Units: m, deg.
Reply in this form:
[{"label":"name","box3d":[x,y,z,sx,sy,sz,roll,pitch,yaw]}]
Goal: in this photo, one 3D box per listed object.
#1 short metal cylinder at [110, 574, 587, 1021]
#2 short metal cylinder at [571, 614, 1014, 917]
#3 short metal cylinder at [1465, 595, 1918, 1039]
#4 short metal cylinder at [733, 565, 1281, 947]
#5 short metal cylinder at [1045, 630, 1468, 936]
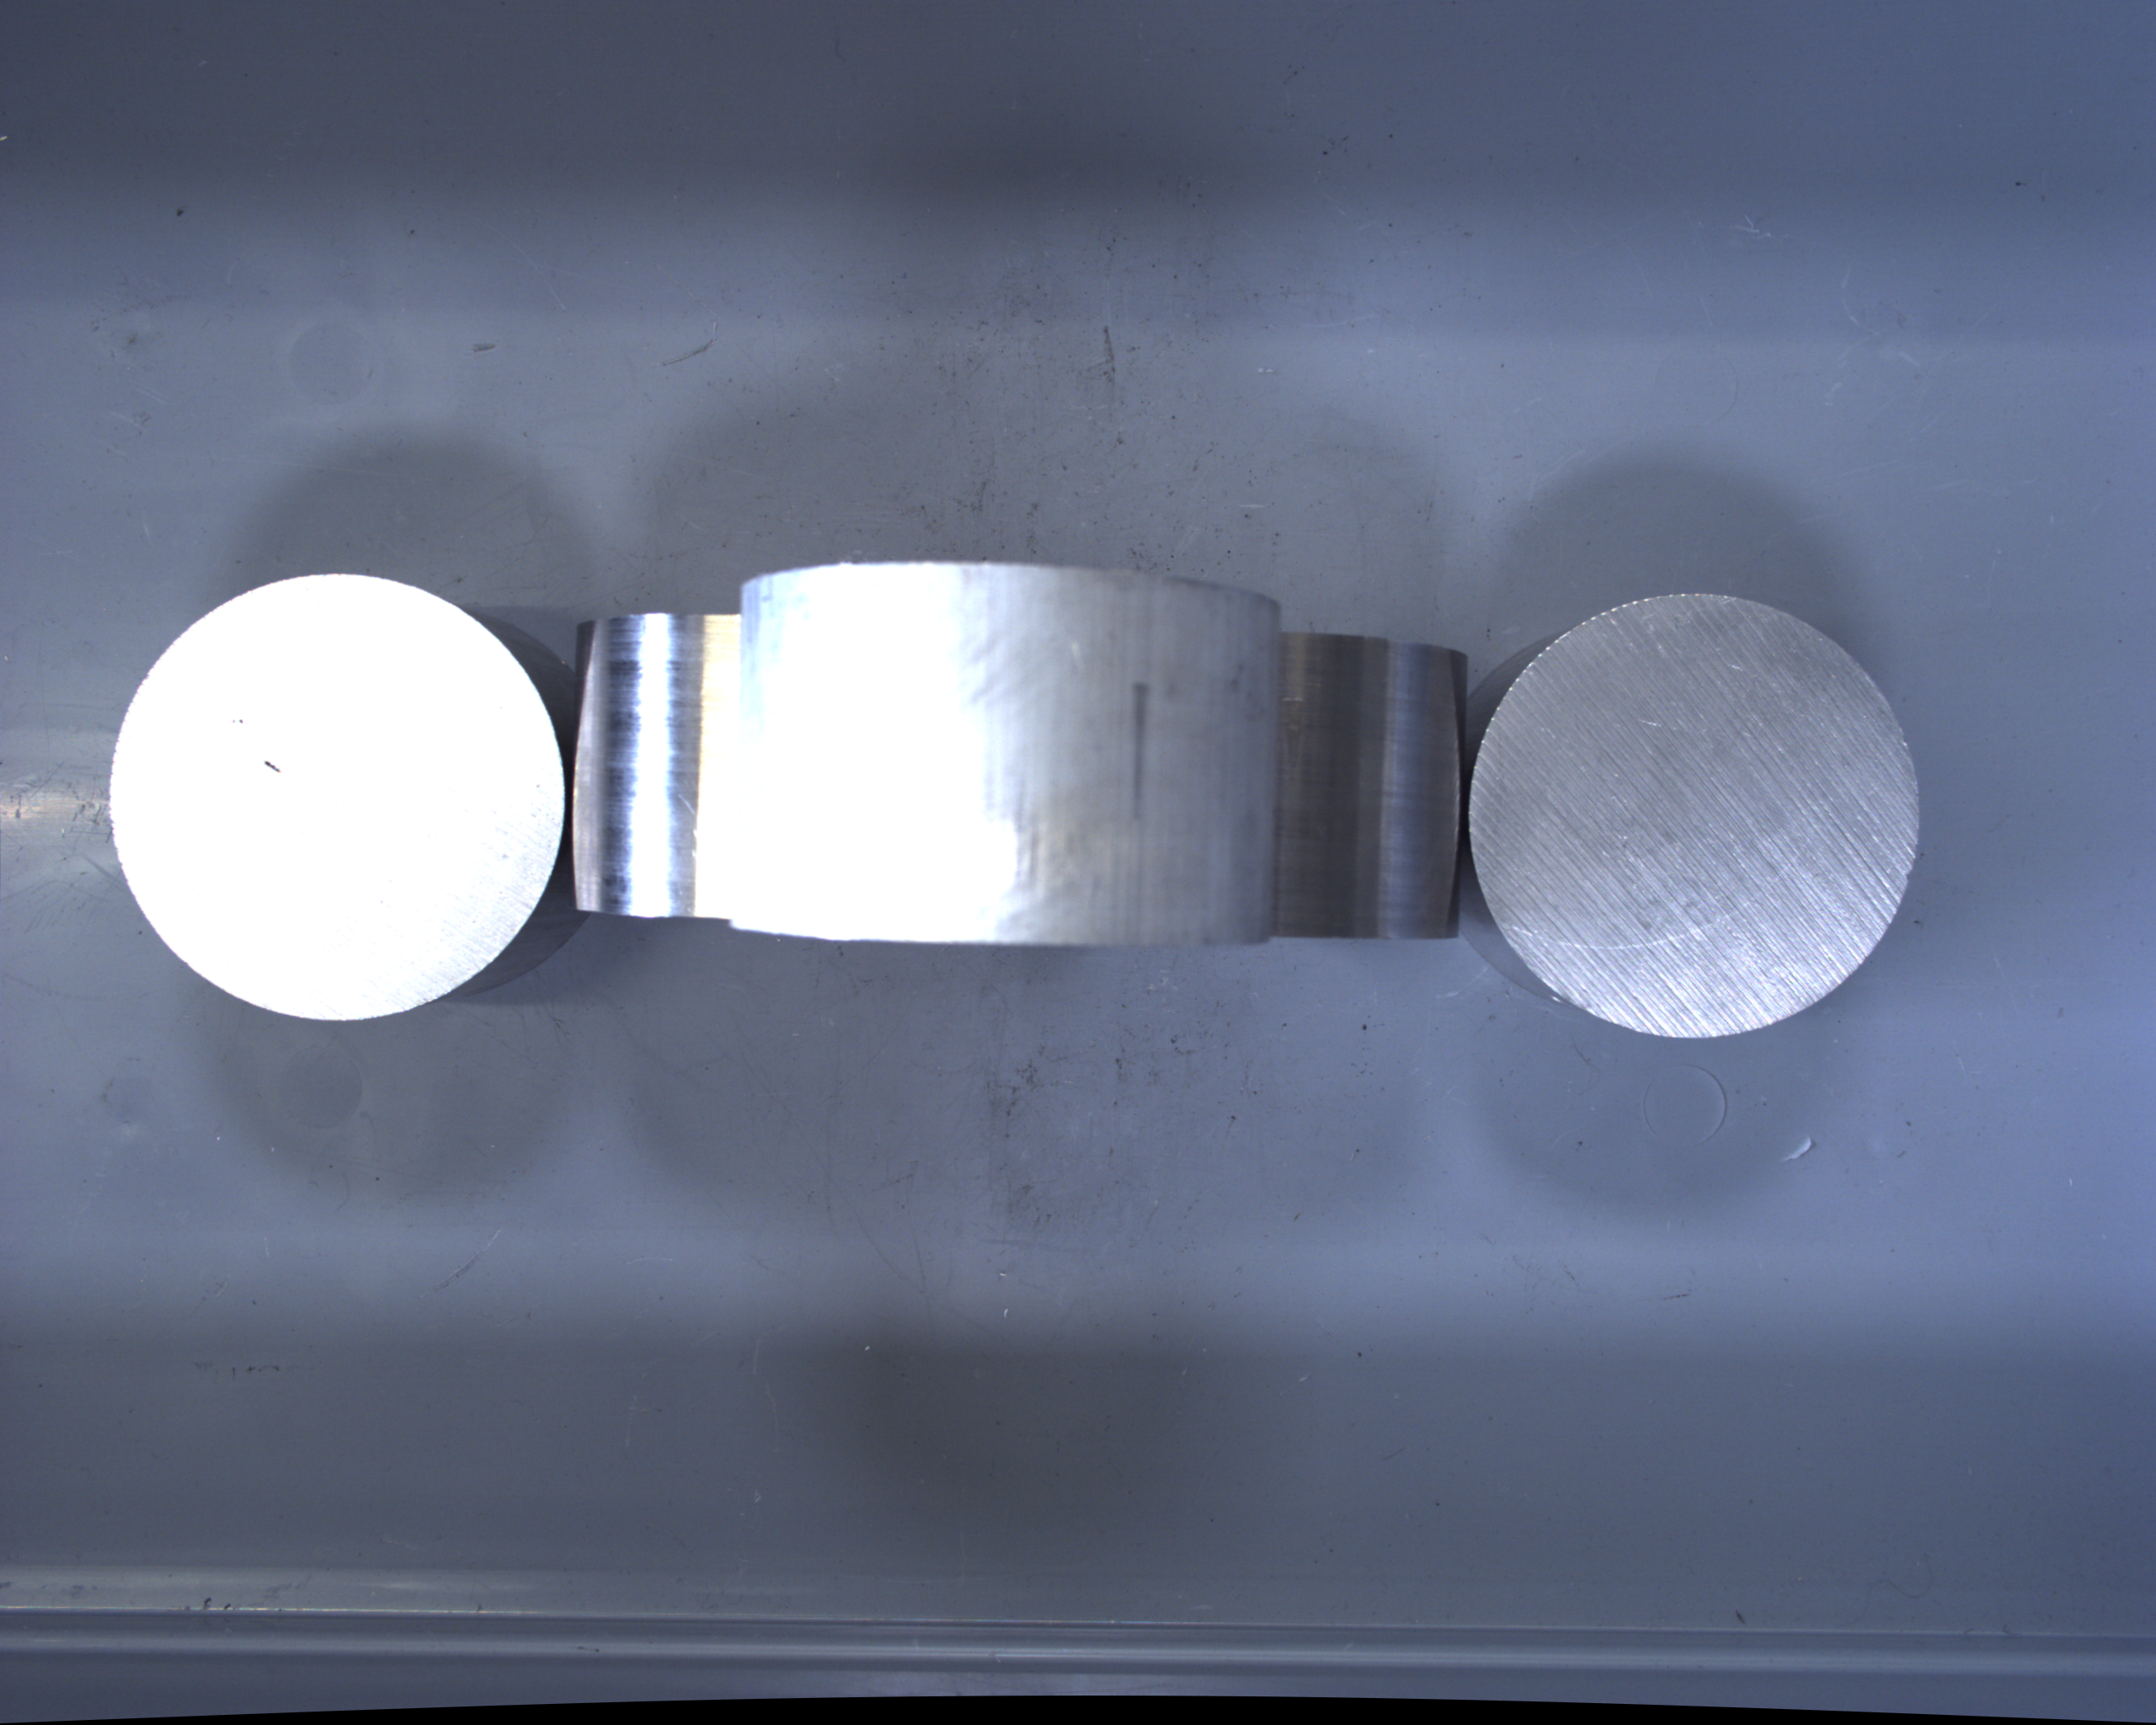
[{"label":"short metal cylinder","box3d":[-0.132,-0.012,0.396,0.081,0.050,0.080,0,90,0]},{"label":"short metal cylinder","box3d":[-0.051,-0.016,0.381,0.081,0.080,0.050,2,90,0]},{"label":"short metal cylinder","box3d":[0.110,-0.008,0.398,0.081,0.050,0.080,0,90,0]},{"label":"short metal cylinder","box3d":[-0.010,-0.014,0.313,0.081,0.080,0.050,2,90,0]},{"label":"short metal cylinder","box3d":[0.030,-0.013,0.382,0.081,0.080,0.050,2,90,0]}]
